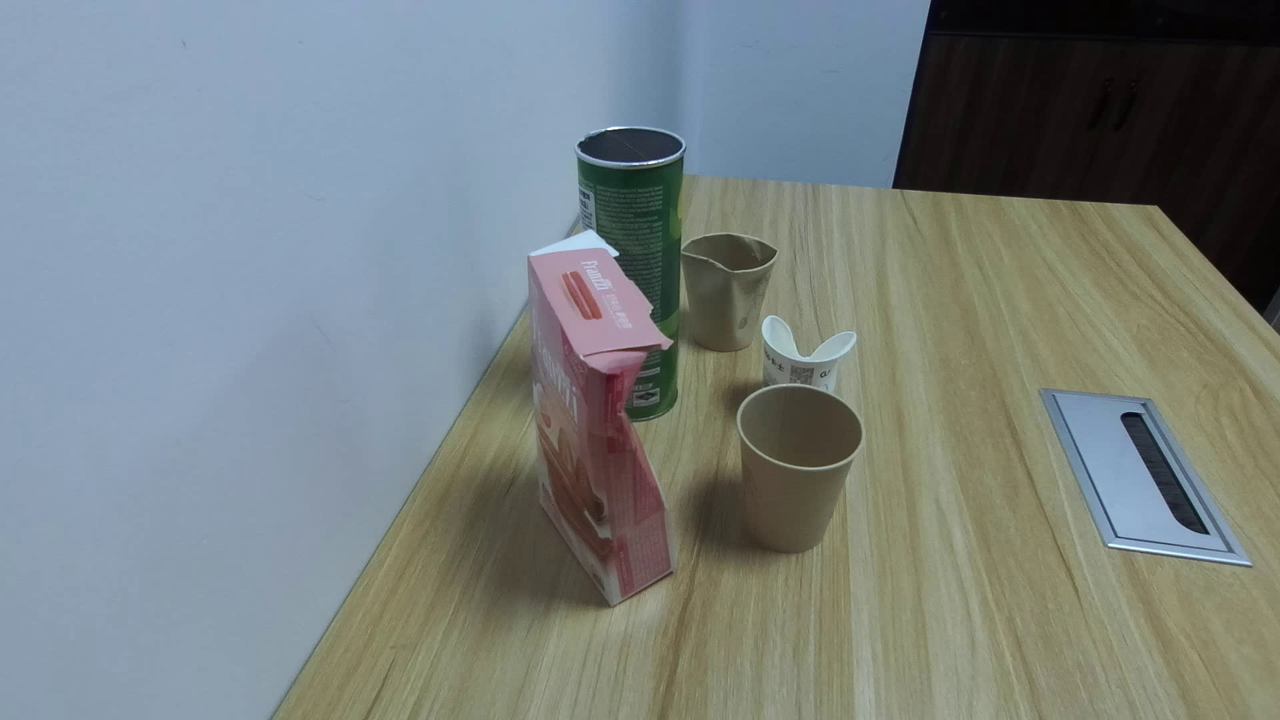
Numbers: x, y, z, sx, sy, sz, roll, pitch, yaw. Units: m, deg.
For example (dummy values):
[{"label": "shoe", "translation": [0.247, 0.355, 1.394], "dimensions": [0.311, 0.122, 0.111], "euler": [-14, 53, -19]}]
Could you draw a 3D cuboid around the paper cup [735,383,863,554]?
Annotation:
[{"label": "paper cup", "translation": [0.092, 0.070, 0.430], "dimensions": [0.075, 0.082, 0.075], "euler": [0, 36, 0]}]

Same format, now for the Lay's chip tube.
[{"label": "Lay's chip tube", "translation": [-0.005, -0.055, 0.499], "dimensions": [0.071, 0.203, 0.071], "euler": [0, 36, 0]}]

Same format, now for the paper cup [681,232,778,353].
[{"label": "paper cup", "translation": [0.074, -0.057, 0.602], "dimensions": [0.071, 0.084, 0.066], "euler": [29, 43, 35]}]

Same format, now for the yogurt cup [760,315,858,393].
[{"label": "yogurt cup", "translation": [0.119, 0.009, 0.522], "dimensions": [0.067, 0.070, 0.067], "euler": [1, 38, 0]}]

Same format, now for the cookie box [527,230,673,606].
[{"label": "cookie box", "translation": [-0.020, 0.040, 0.391], "dimensions": [0.055, 0.184, 0.118], "euler": [-15, 39, -19]}]
